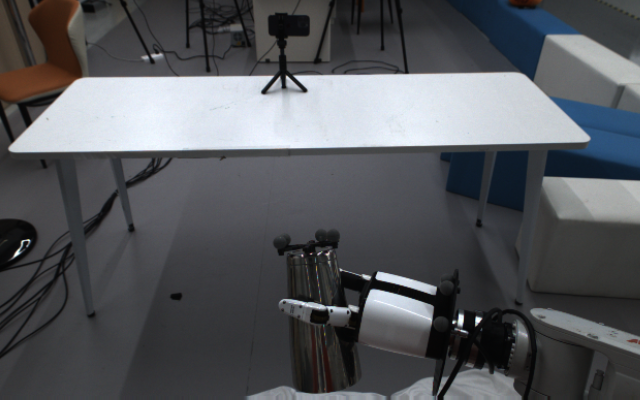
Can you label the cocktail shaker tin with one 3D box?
[{"bbox_3d":[-0.001,0.152,0.638,0.093,0.170,0.093,-8,1,0],"label":"cocktail shaker tin"}]
